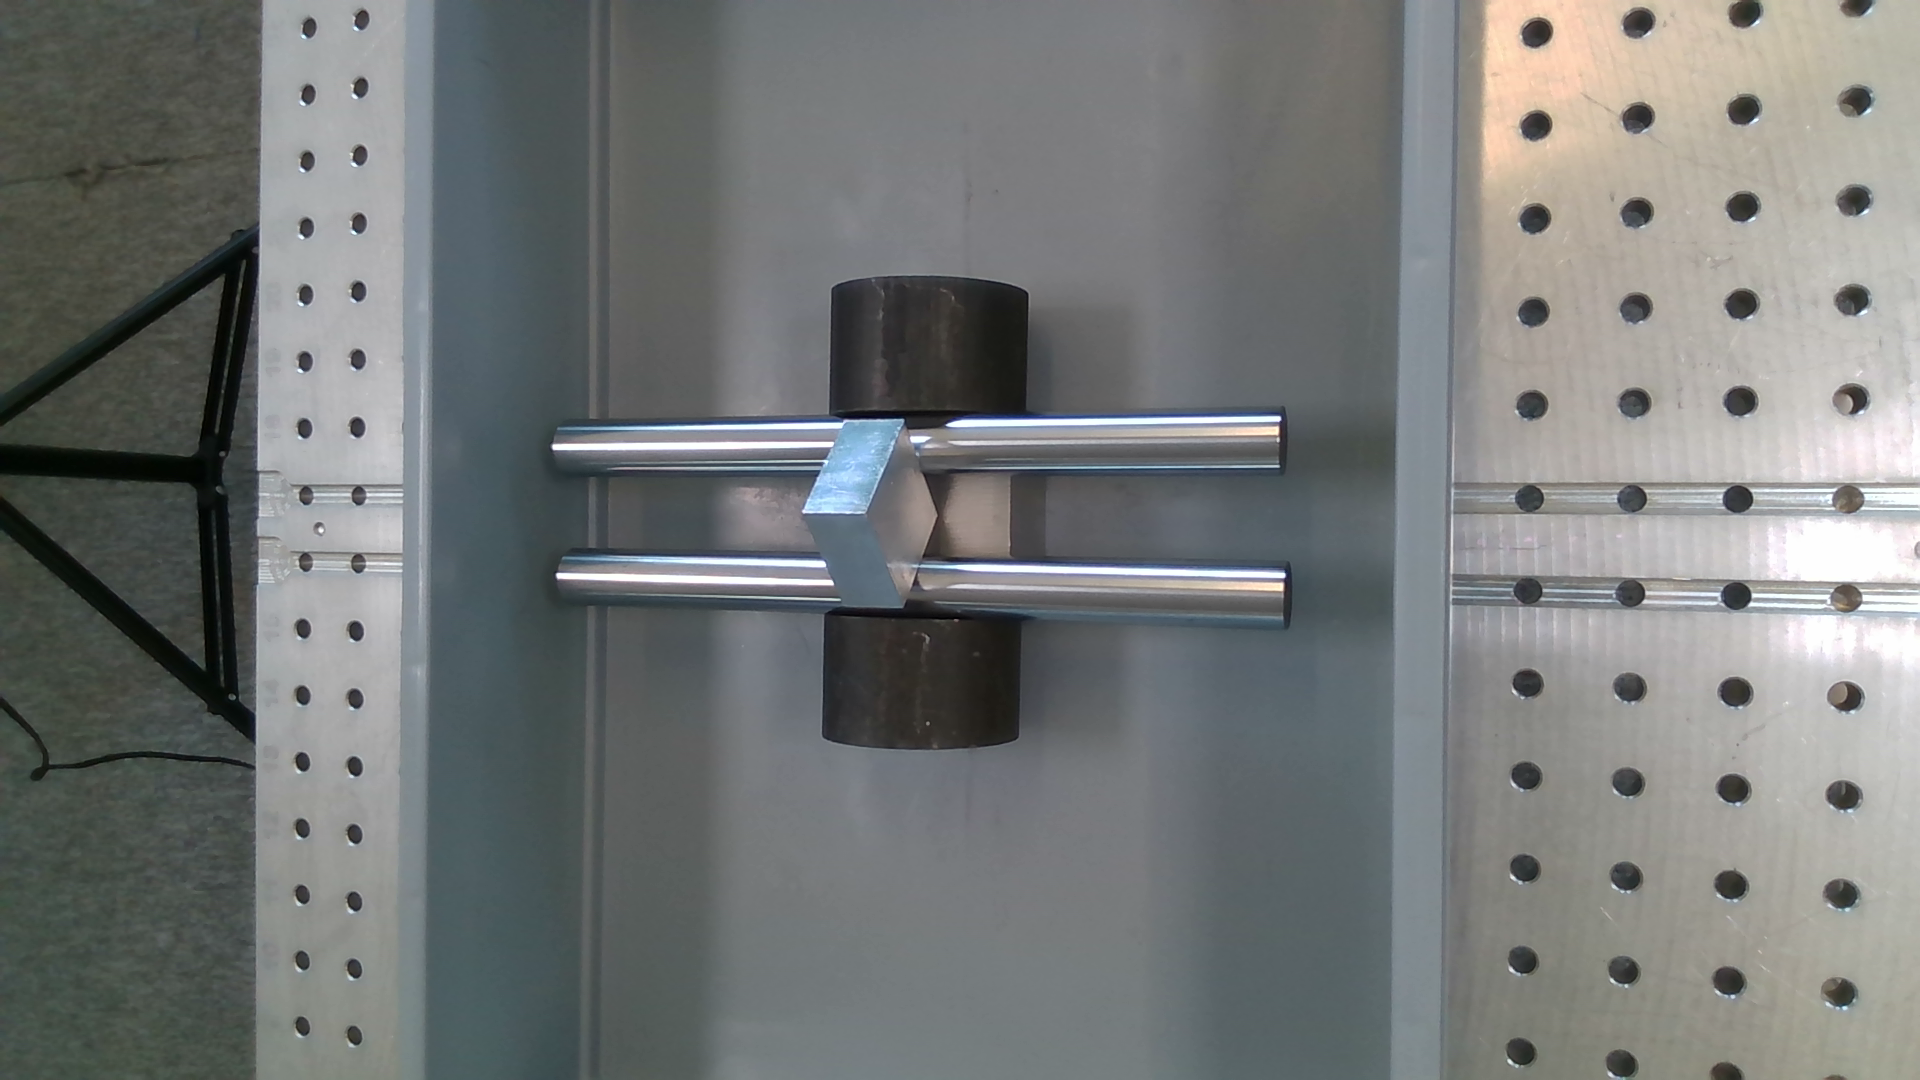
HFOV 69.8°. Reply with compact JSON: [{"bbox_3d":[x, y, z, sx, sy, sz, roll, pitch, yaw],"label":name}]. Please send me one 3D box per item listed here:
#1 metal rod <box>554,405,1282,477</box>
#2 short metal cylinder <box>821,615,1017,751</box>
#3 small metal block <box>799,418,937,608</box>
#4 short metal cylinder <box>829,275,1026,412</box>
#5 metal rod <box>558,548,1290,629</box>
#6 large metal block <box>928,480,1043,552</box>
[{"bbox_3d":[-0.027,-0.037,0.541,0.300,0.025,0.025,1,91,20],"label":"metal rod"},{"bbox_3d":[-0.017,0.055,0.562,0.080,0.080,0.050,1,90,20],"label":"short metal cylinder"},{"bbox_3d":[-0.033,-0.010,0.517,0.025,0.050,0.050,1,46,21],"label":"small metal block"},{"bbox_3d":[-0.013,-0.076,0.560,0.080,0.080,0.050,1,91,20],"label":"short metal cylinder"},{"bbox_3d":[-0.025,0.018,0.541,0.300,0.025,0.025,1,91,20],"label":"metal rod"},{"bbox_3d":[-0.010,-0.011,0.575,0.080,0.050,0.080,1,91,20],"label":"large metal block"}]
